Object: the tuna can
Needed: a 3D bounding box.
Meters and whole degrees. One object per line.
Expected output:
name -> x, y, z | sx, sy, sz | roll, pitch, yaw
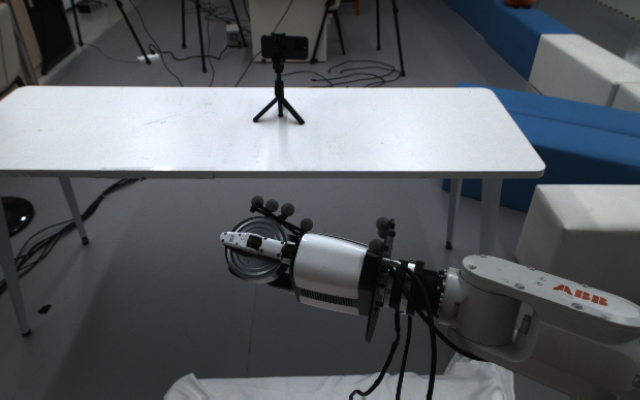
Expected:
tuna can -> -0.078, 0.066, 0.642 | 0.085, 0.034, 0.085 | -4, 67, 10
